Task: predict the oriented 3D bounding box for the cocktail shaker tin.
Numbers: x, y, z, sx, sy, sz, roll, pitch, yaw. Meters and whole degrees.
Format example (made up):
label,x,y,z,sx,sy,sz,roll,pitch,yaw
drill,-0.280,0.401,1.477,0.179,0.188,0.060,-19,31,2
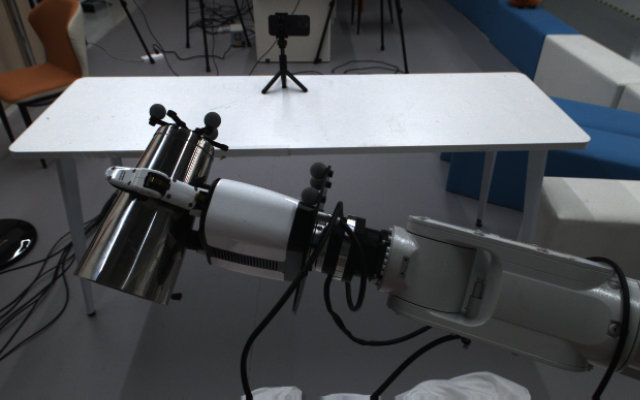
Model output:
label,x,y,z,sx,sy,sz,roll,pitch,yaw
cocktail shaker tin,-0.170,0.013,0.497,0.093,0.093,0.170,13,70,15
